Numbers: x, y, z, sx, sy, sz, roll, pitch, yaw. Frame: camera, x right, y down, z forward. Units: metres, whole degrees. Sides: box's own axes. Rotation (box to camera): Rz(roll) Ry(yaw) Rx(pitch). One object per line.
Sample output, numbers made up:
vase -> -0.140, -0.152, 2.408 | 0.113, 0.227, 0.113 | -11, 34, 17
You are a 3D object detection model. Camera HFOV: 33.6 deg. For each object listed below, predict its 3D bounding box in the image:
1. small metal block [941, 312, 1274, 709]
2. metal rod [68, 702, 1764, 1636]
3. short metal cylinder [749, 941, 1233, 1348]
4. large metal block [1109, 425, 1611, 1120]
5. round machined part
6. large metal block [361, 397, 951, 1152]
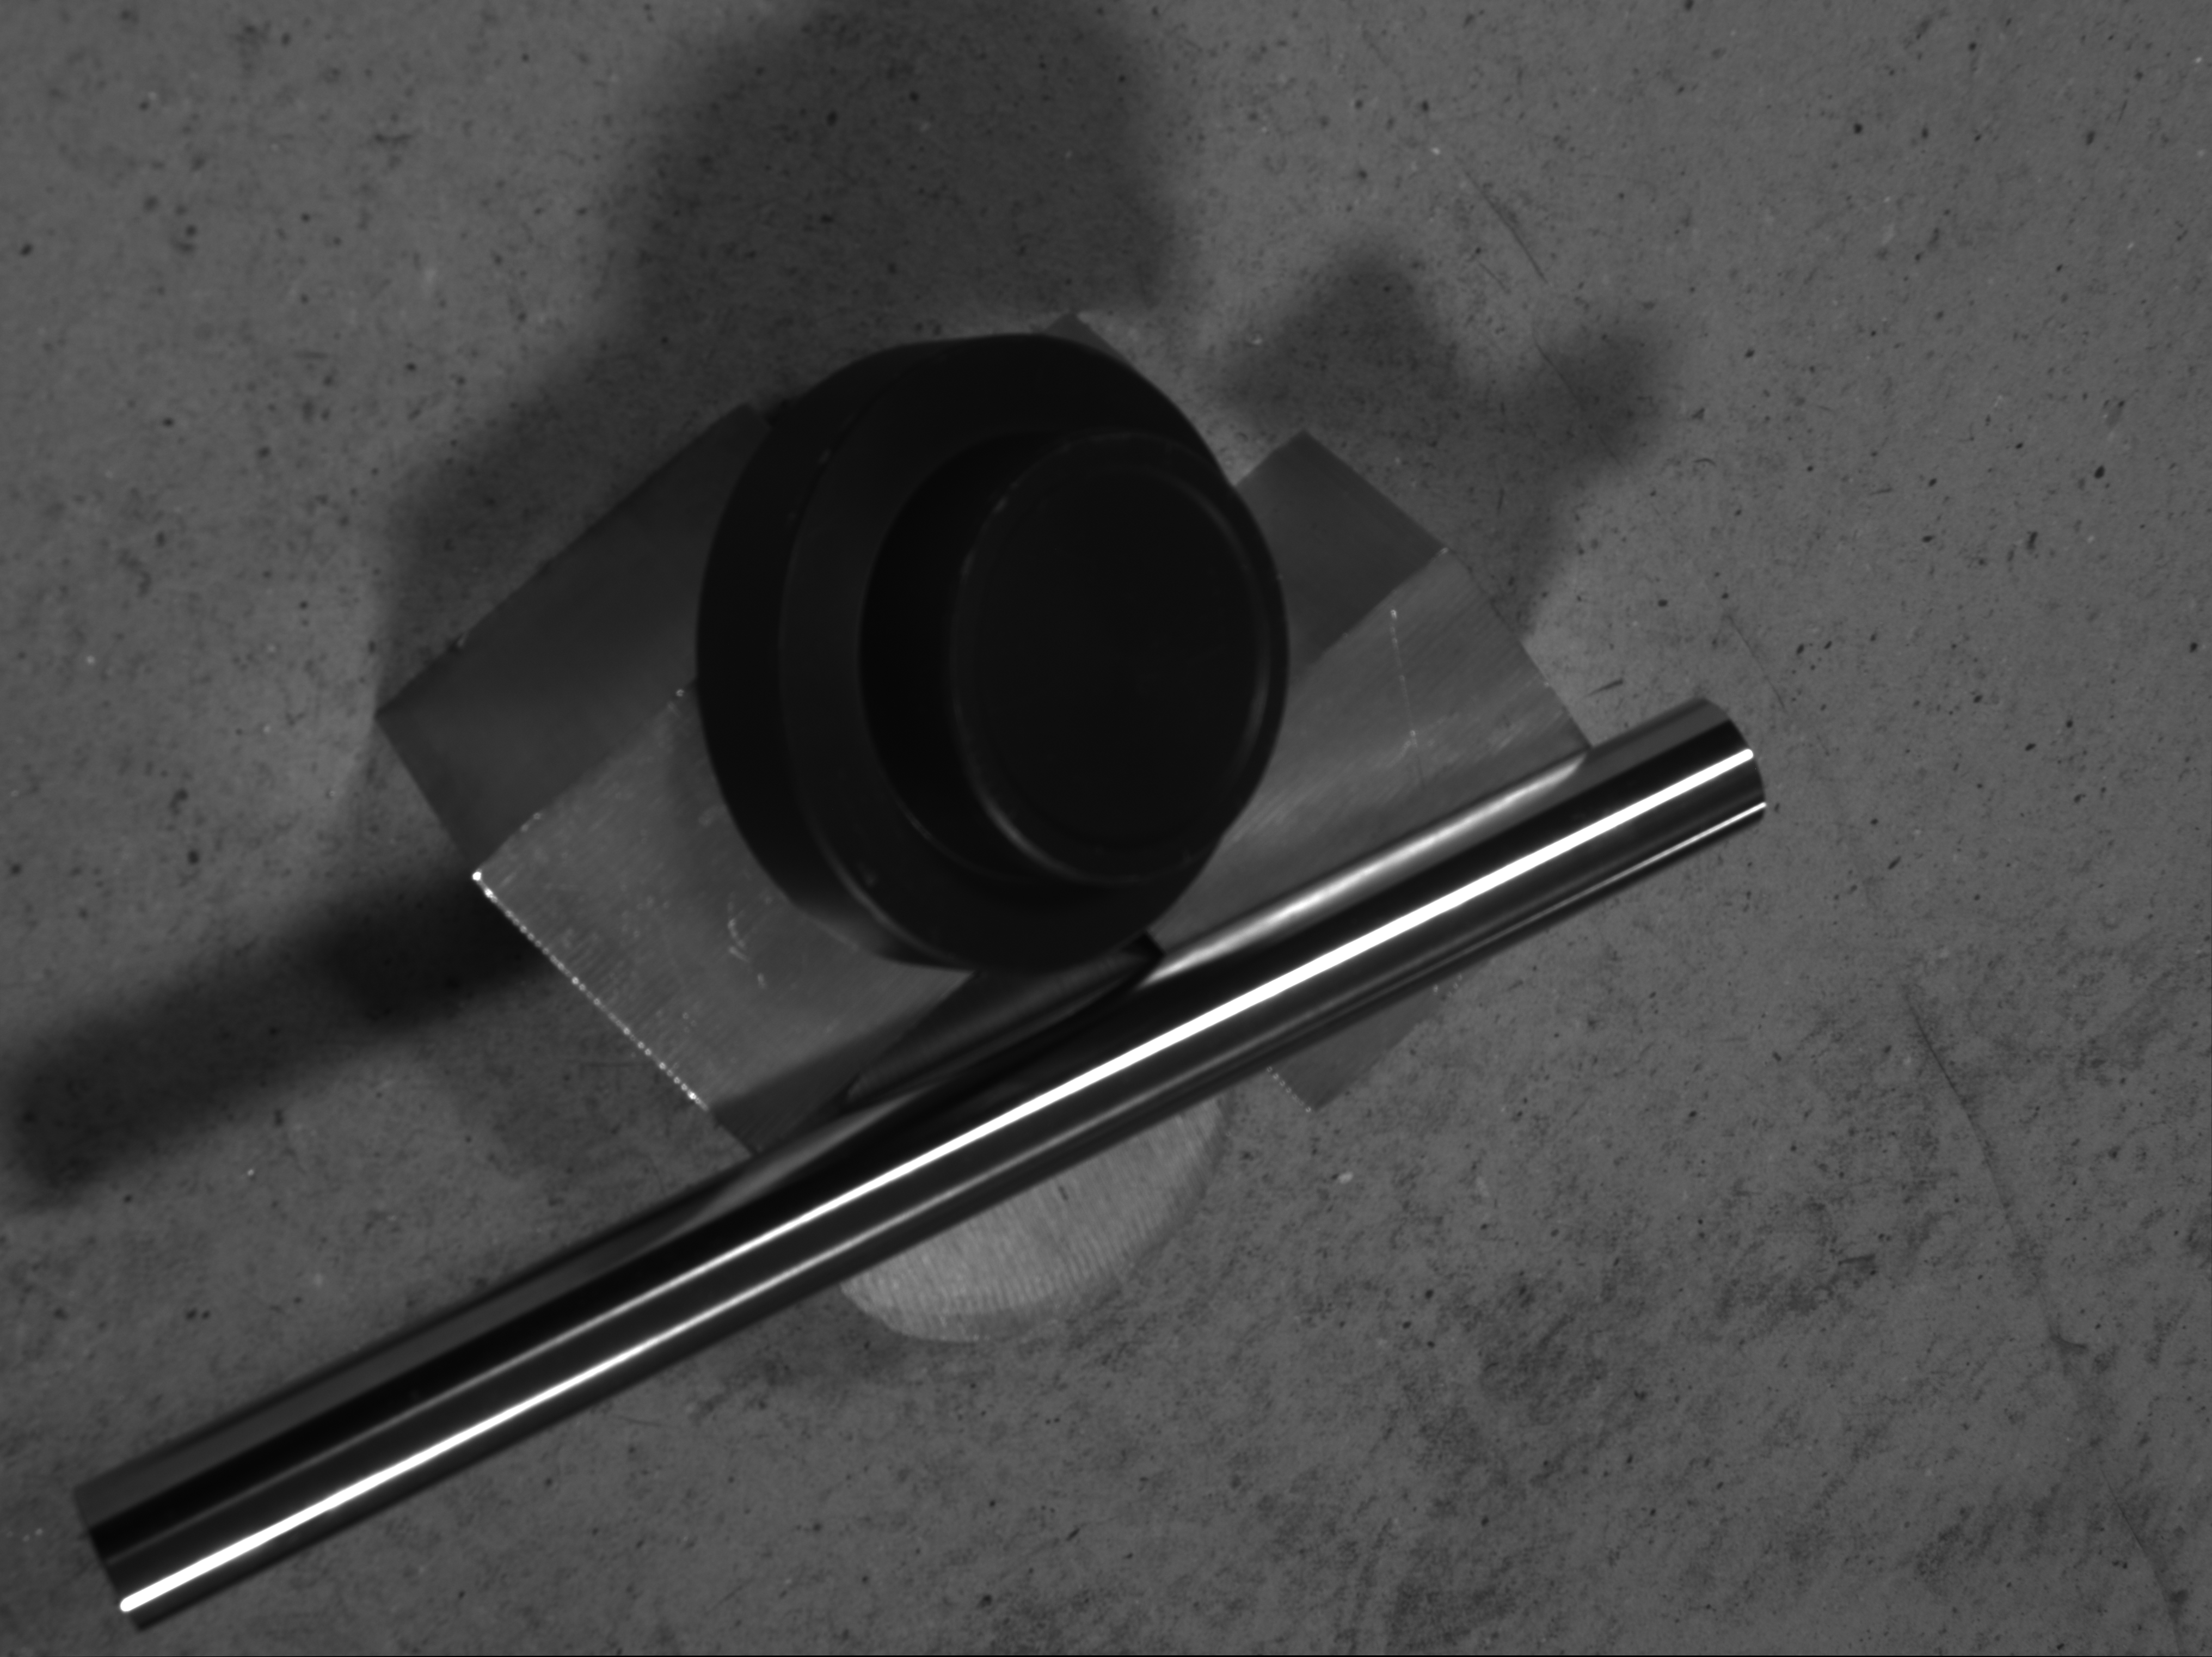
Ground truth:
small metal block -> -0.008, -0.049, 0.615 | 0.050, 0.025, 0.050 | -40, 130, -2
metal rod -> -0.024, 0.051, 0.603 | 0.300, 0.025, 0.025 | -25, 128, -15
short metal cylinder -> -0.025, 0.044, 0.647 | 0.080, 0.050, 0.080 | -15, 125, -22
large metal block -> 0.035, -0.009, 0.649 | 0.080, 0.050, 0.080 | -41, 130, -2
round machined part -> -0.011, -0.026, 0.559 | 0.098, 0.042, 0.098 | -3, 94, -41
large metal block -> -0.059, -0.008, 0.594 | 0.080, 0.050, 0.080 | -41, 130, -2
